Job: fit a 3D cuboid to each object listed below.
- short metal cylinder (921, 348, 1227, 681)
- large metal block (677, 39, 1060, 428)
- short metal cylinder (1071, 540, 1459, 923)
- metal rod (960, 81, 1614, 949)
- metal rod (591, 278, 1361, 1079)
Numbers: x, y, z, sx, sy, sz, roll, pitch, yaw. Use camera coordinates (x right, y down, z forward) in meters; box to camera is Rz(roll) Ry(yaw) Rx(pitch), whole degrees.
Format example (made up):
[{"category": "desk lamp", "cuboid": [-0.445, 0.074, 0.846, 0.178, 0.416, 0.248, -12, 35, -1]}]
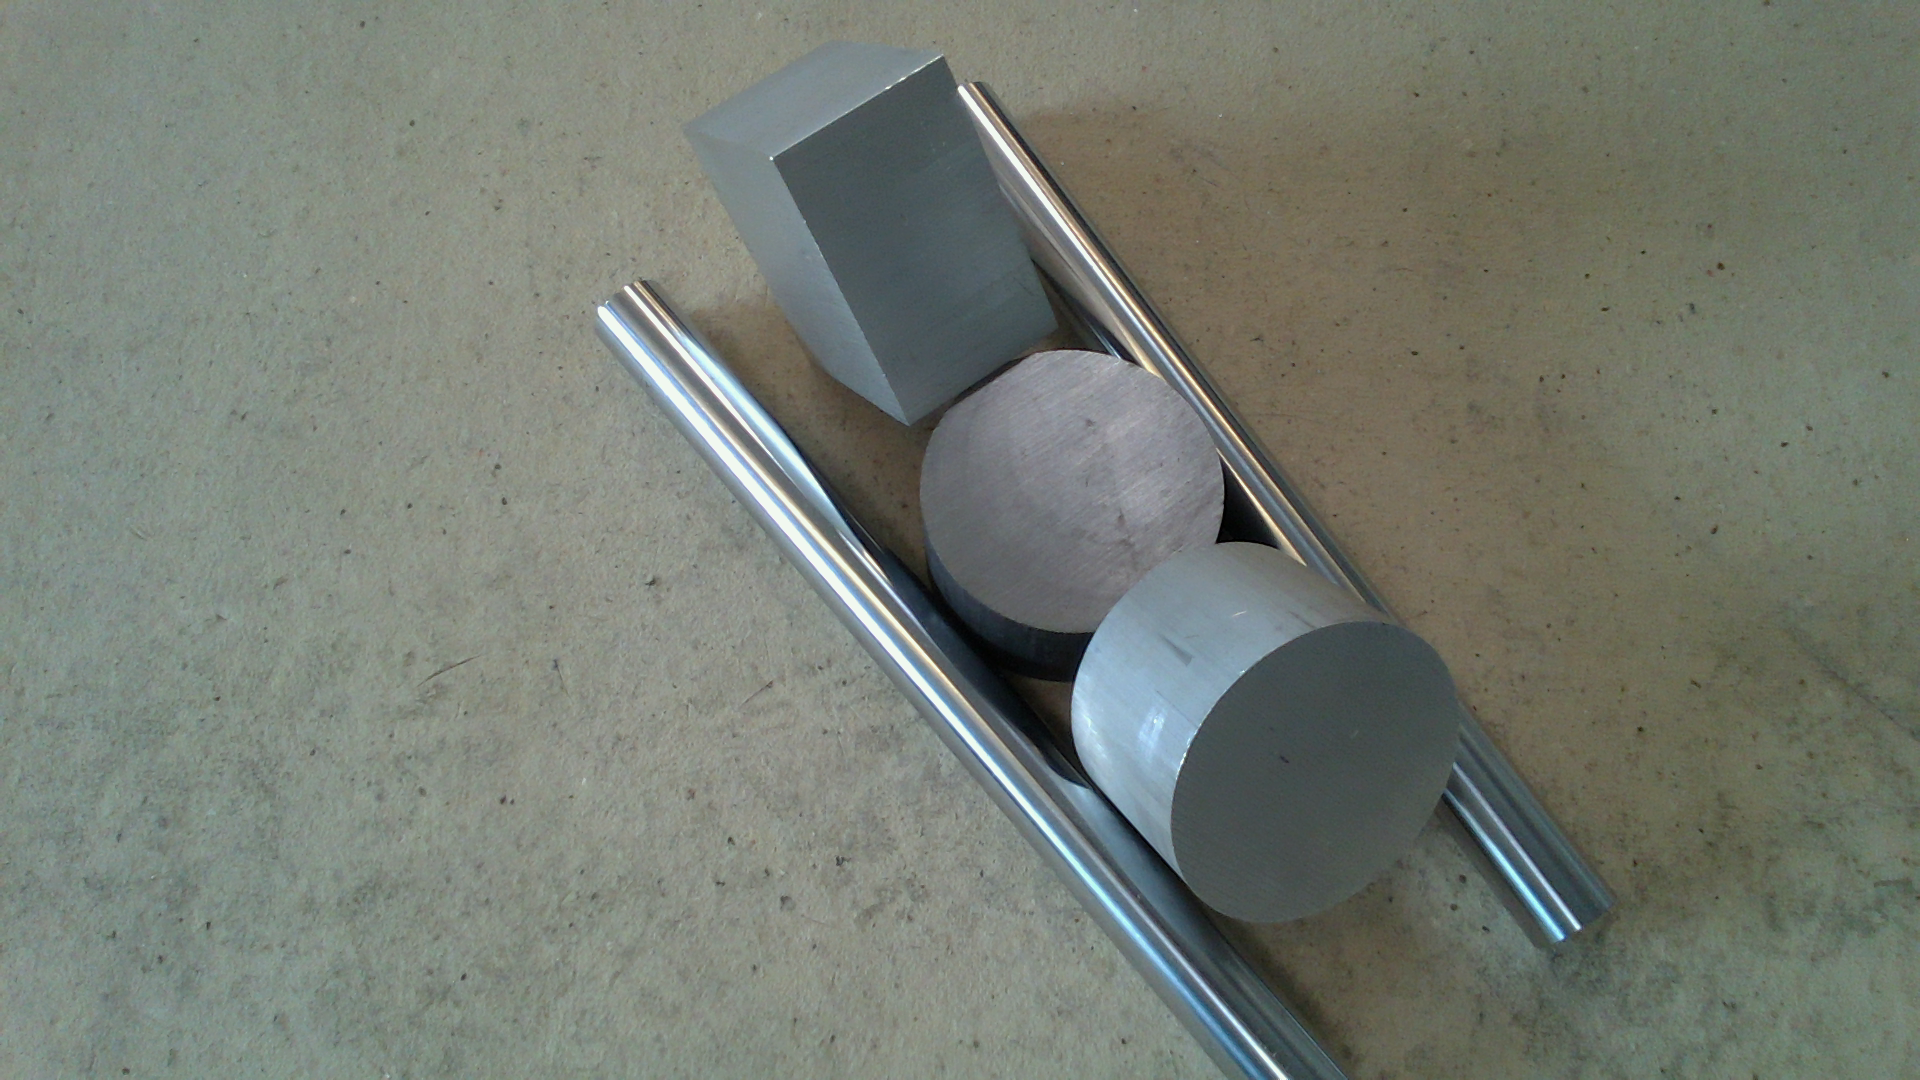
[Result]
[{"category": "short metal cylinder", "cuboid": [0.030, -0.006, 0.384, 0.080, 0.050, 0.080, 0, 70, 0]}, {"category": "large metal block", "cuboid": [-0.026, -0.087, 0.381, 0.050, 0.080, 0.080, -35, 32, -12]}, {"category": "short metal cylinder", "cuboid": [0.075, 0.046, 0.342, 0.080, 0.080, 0.050, -30, 30, -10]}, {"category": "metal rod", "cuboid": [0.079, -0.020, 0.402, 0.025, 0.025, 0.300, -31, 73, -10]}, {"category": "metal rod", "cuboid": [-0.005, 0.037, 0.381, 0.025, 0.025, 0.300, -39, 75, -13]}]
